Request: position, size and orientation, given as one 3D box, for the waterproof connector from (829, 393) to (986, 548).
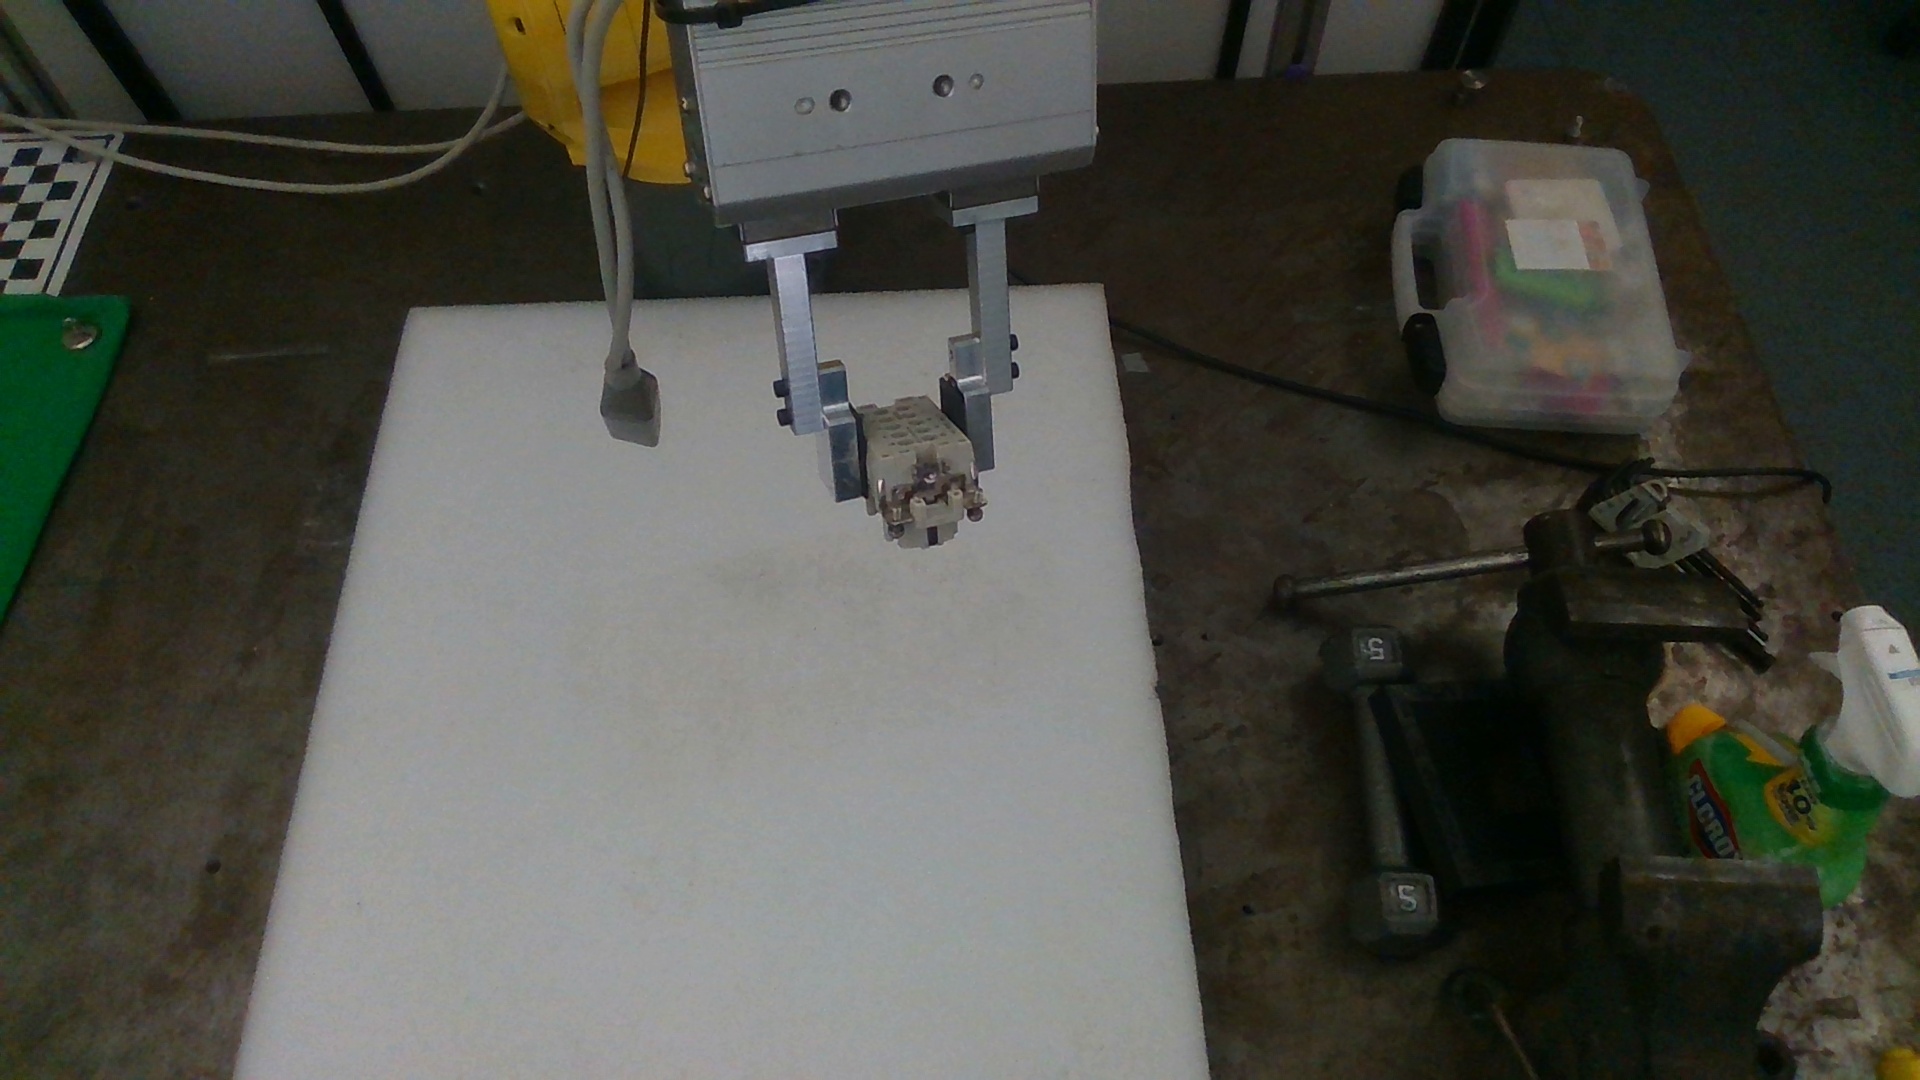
[{"bbox_3d":[-0.019,-0.024,0.475,0.036,0.038,0.069,-10,27,-20],"label":"waterproof connector"}]
